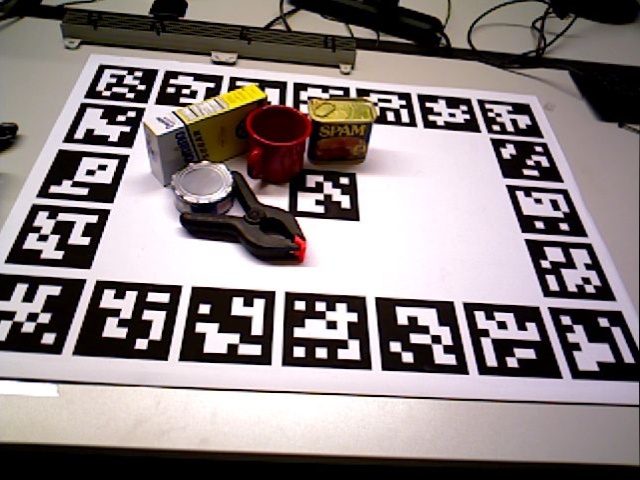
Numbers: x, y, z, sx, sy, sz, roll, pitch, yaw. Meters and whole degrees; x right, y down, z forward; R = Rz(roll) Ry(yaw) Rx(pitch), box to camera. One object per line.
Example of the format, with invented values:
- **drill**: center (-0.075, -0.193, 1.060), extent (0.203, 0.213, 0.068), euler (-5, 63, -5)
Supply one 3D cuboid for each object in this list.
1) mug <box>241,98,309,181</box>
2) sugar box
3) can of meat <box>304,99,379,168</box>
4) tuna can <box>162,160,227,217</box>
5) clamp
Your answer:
- **mug**: center (-0.070, -0.130, 0.759), extent (0.093, 0.083, 0.114), euler (24, 53, 10)
- **sugar box**: center (-0.162, -0.147, 0.763), extent (0.173, 0.095, 0.045), euler (-27, 58, -28)
- **can of meat**: center (0.027, -0.156, 0.804), extent (0.101, 0.086, 0.057), euler (-1, 50, -11)
- **tuna can**: center (-0.168, -0.065, 0.727), extent (0.085, 0.034, 0.084), euler (3, 53, -5)
- **clamp**: center (-0.091, -0.014, 0.703), extent (0.165, 0.037, 0.119), euler (35, 50, 13)
